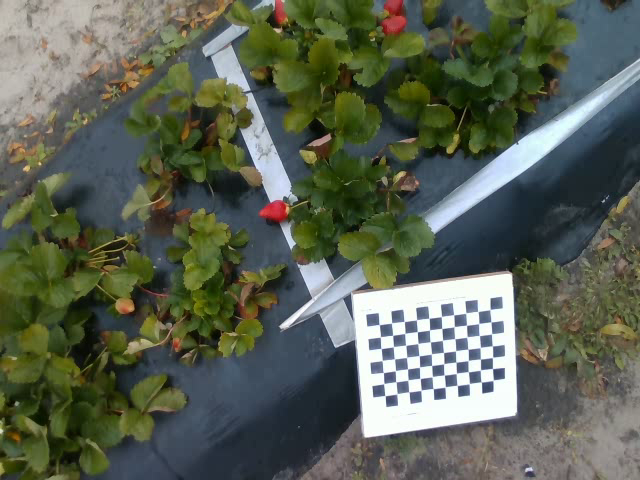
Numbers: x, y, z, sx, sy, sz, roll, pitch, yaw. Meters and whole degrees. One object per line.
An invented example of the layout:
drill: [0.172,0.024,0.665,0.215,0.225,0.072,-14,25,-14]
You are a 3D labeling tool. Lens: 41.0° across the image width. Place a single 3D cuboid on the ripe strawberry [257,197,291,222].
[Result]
ripe strawberry: [-0.079,-0.050,1.347,0.051,0.042,0.037,-11,17,-9]
